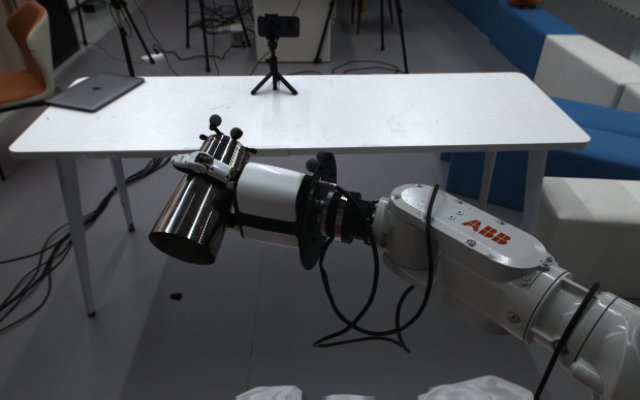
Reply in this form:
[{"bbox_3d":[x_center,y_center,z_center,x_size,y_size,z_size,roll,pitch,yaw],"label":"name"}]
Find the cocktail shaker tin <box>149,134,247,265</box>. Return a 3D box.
[{"bbox_3d":[-0.160,-0.006,0.672,0.093,0.093,0.170,10,60,11],"label":"cocktail shaker tin"}]
